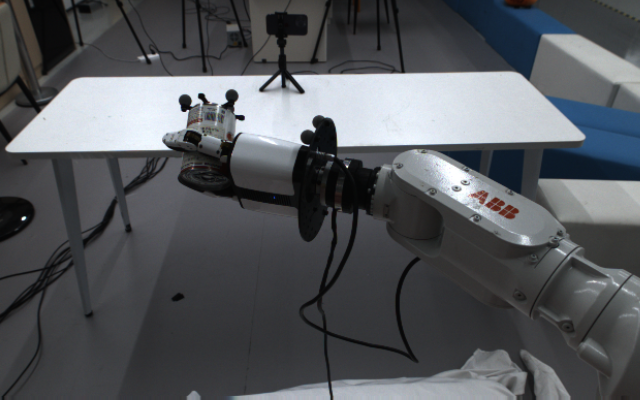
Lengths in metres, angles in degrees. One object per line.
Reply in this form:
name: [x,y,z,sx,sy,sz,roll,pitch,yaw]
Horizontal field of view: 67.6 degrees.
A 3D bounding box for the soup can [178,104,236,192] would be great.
soup can: [-0.151,-0.071,0.656,0.067,0.067,0.101,1,68,-1]
